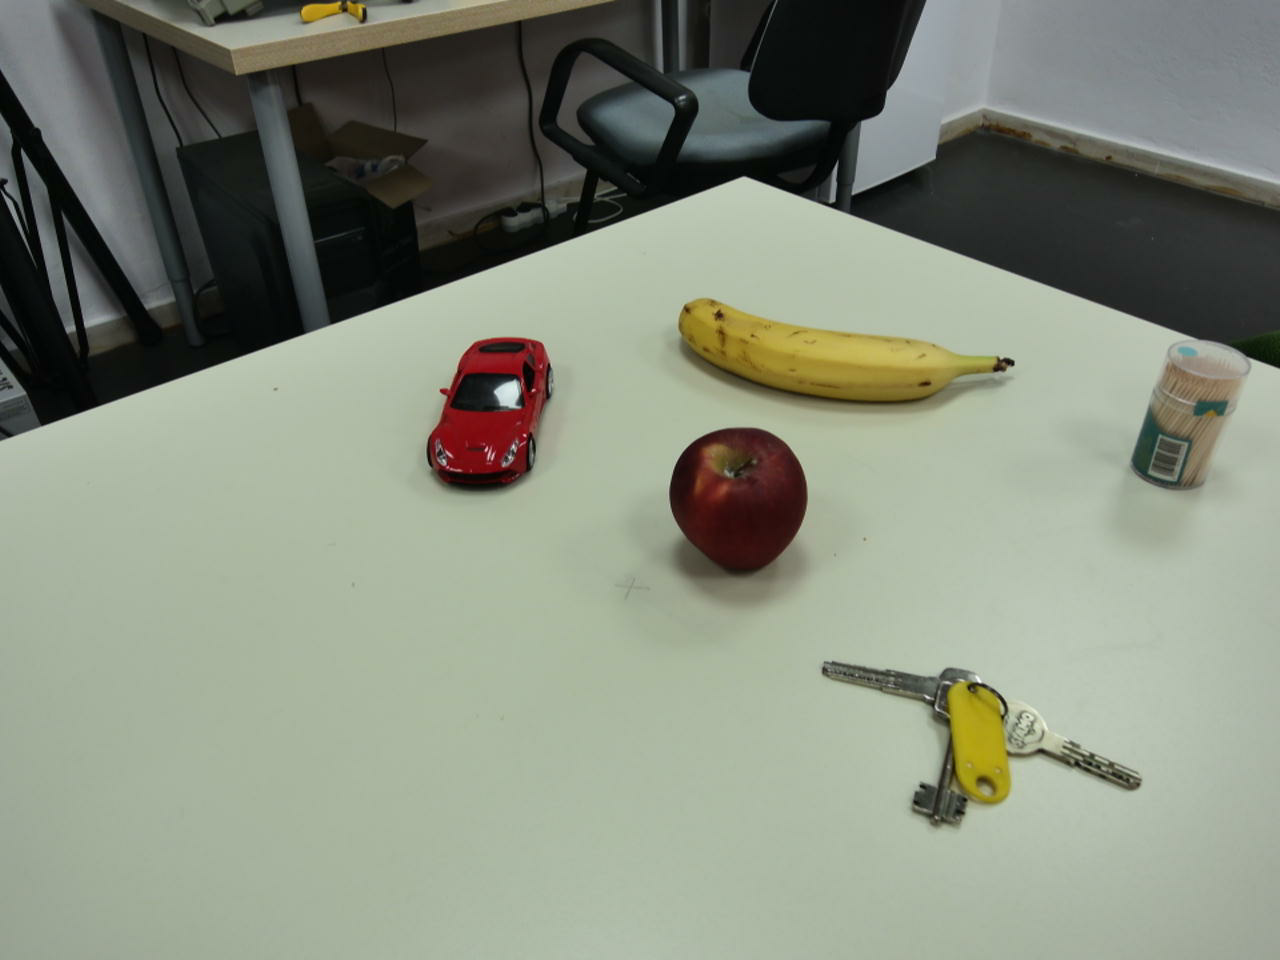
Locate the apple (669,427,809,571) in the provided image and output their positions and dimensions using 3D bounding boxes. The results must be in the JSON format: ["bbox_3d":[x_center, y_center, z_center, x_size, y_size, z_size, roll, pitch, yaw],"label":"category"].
[{"bbox_3d":[0.050,0.009,0.501,0.070,0.072,0.070,0,36,0],"label":"apple"}]
